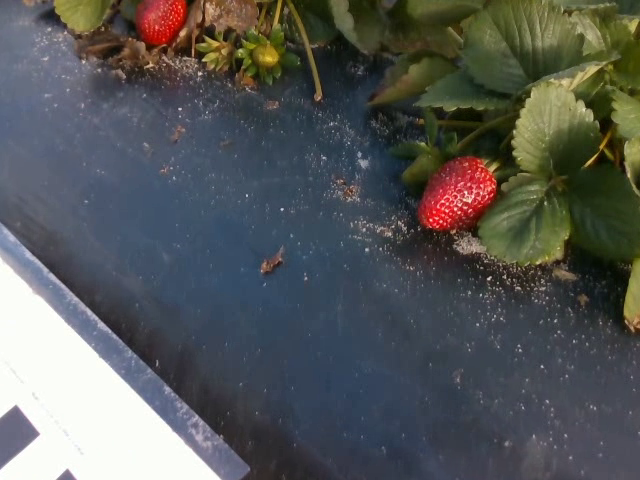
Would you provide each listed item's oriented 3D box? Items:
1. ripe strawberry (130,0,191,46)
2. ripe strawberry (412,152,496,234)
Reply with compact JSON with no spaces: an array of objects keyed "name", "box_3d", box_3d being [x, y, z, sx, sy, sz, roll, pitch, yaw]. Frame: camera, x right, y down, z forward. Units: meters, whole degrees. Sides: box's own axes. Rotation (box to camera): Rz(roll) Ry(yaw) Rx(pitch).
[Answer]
[{"name":"ripe strawberry","box_3d":[-0.080,-0.106,0.296,0.031,0.026,0.030,-1,32,9]},{"name":"ripe strawberry","box_3d":[0.044,-0.015,0.210,0.029,0.021,0.036,31,55,35]}]
